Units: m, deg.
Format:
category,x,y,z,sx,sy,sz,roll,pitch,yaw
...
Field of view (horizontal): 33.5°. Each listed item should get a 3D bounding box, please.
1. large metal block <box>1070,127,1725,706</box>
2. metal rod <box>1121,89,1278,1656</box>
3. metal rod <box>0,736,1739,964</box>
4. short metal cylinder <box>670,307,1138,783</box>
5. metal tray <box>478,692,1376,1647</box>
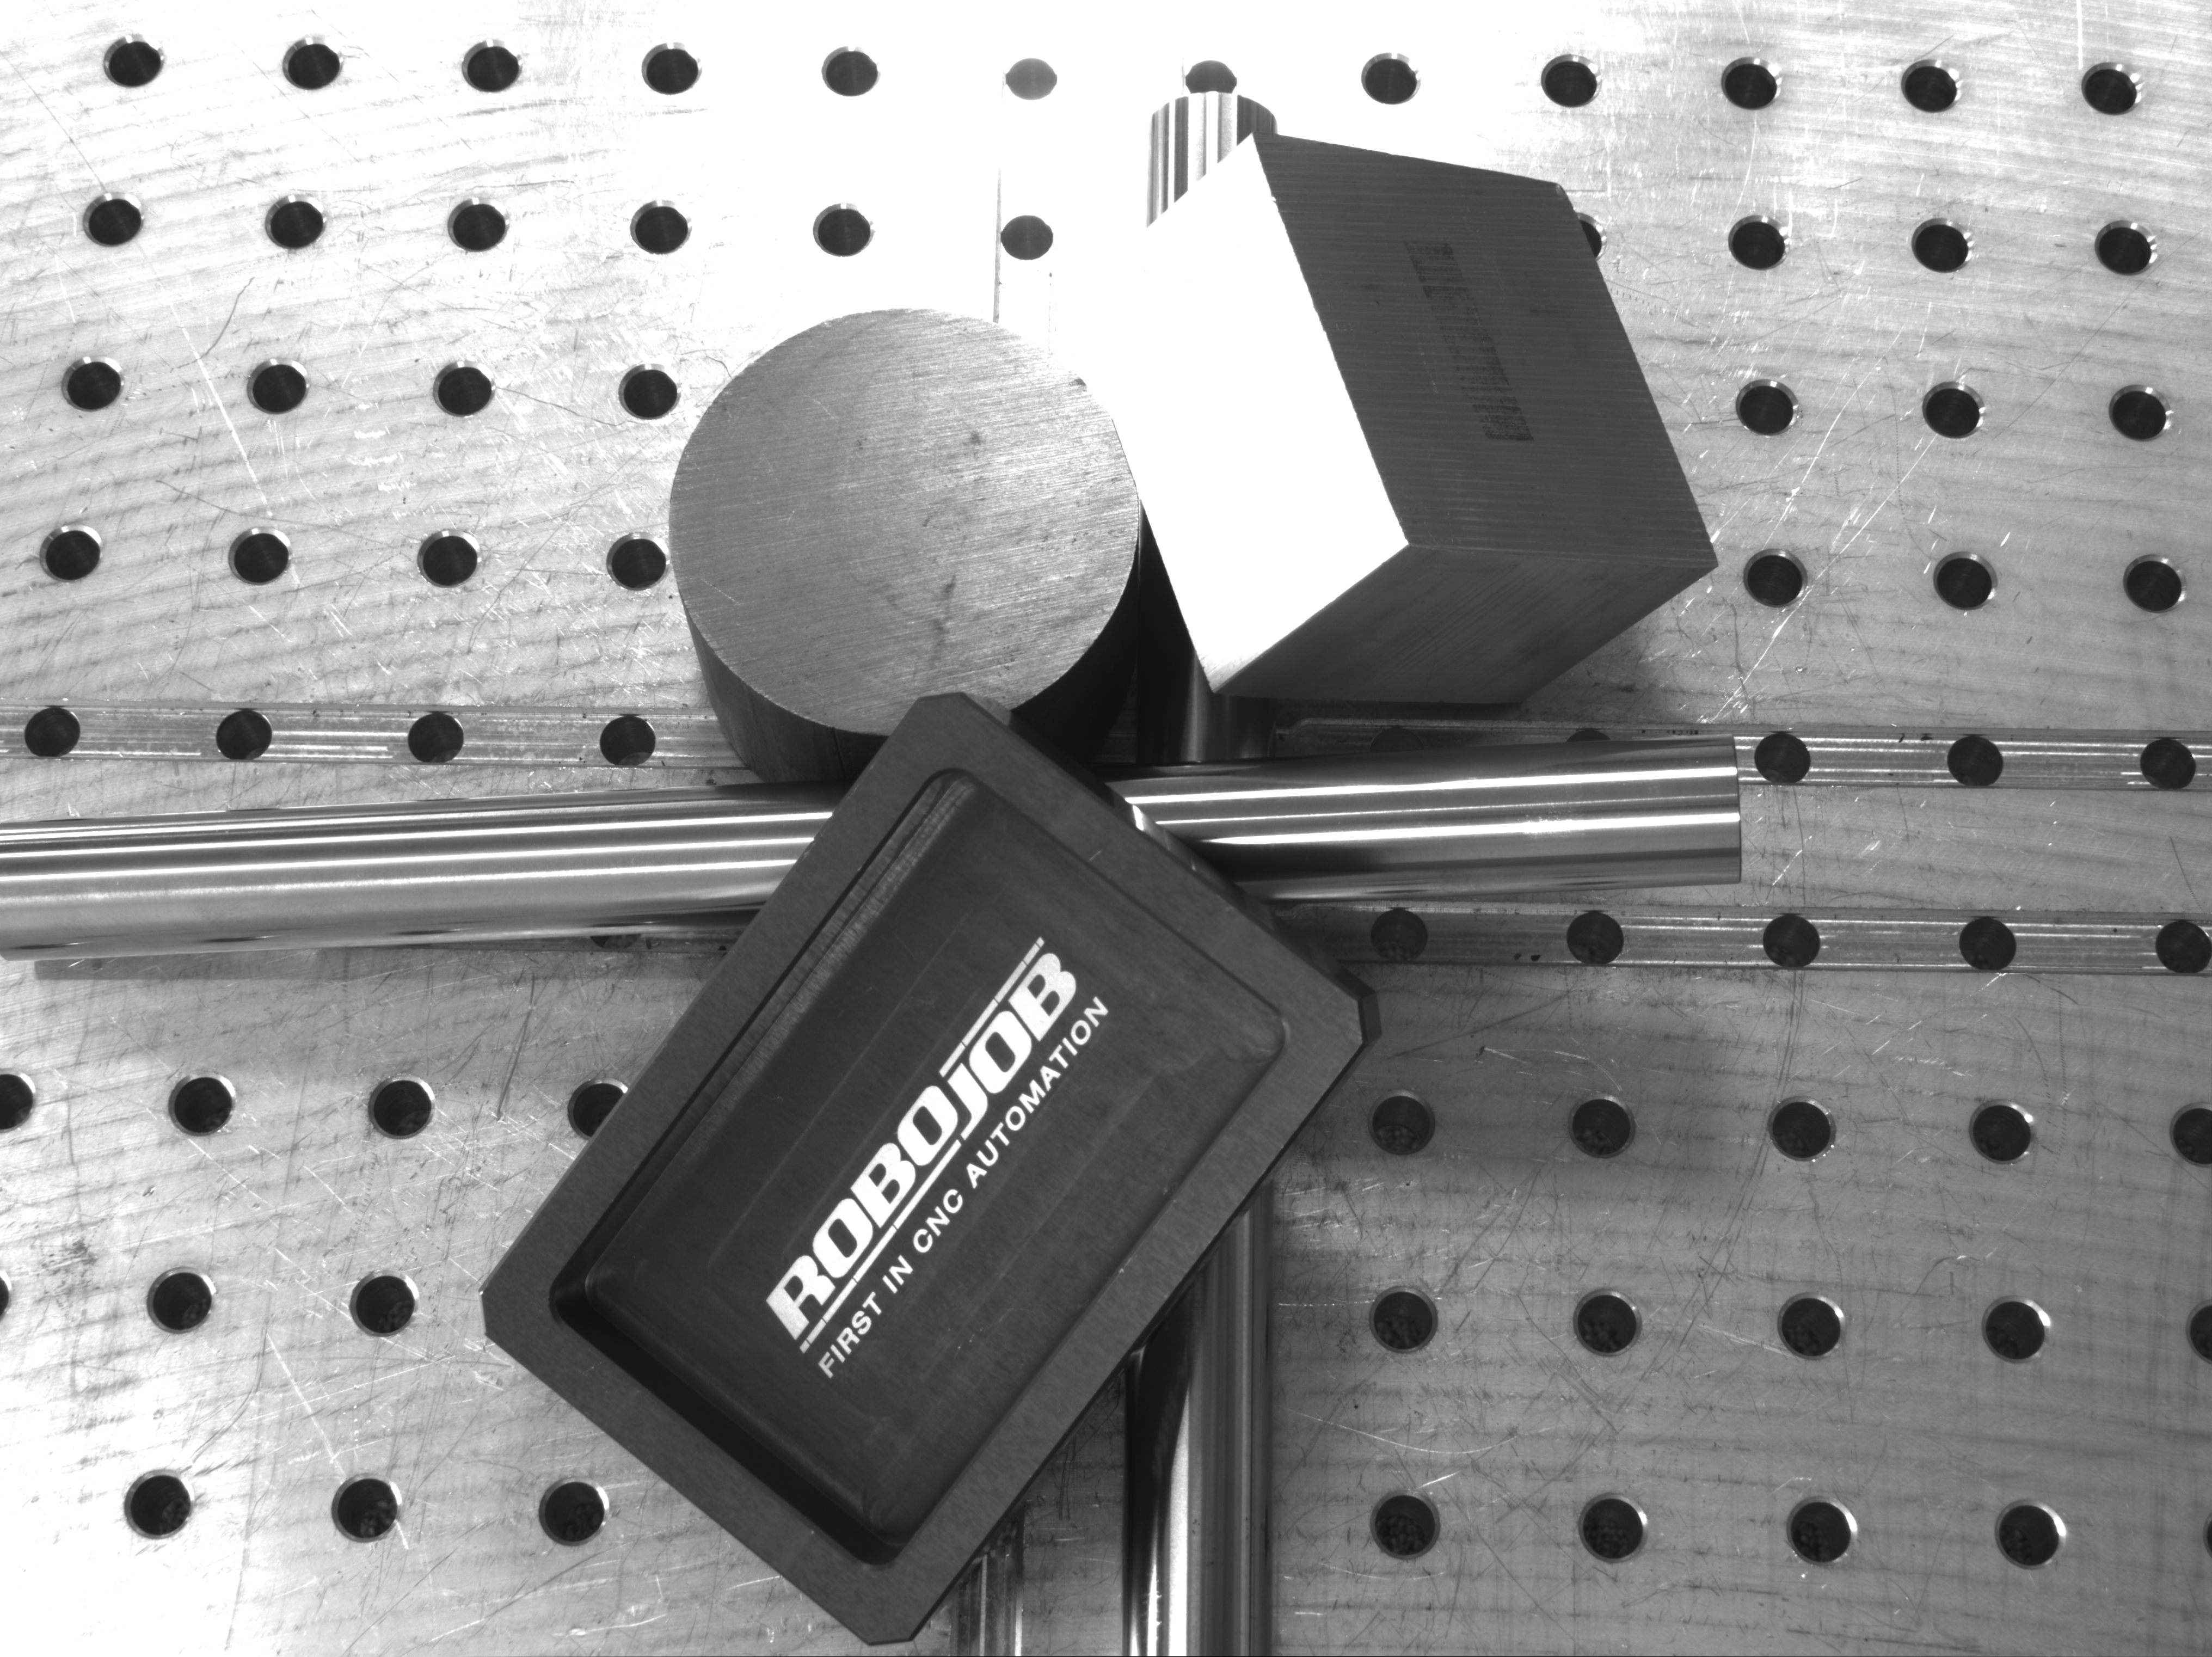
category,x,y,z,sx,sy,sz,roll,pitch,yaw
large metal block,0.051,-0.069,0.639,0.080,0.050,0.080,0,64,-43
metal rod,0.017,0.007,0.645,0.025,0.025,0.300,1,70,1
metal rod,-0.044,0.004,0.629,0.300,0.025,0.025,-3,70,7
short metal cylinder,-0.034,-0.045,0.651,0.080,0.050,0.080,0,70,0
metal tray,-0.028,0.054,0.598,0.090,0.030,0.130,37,95,7
